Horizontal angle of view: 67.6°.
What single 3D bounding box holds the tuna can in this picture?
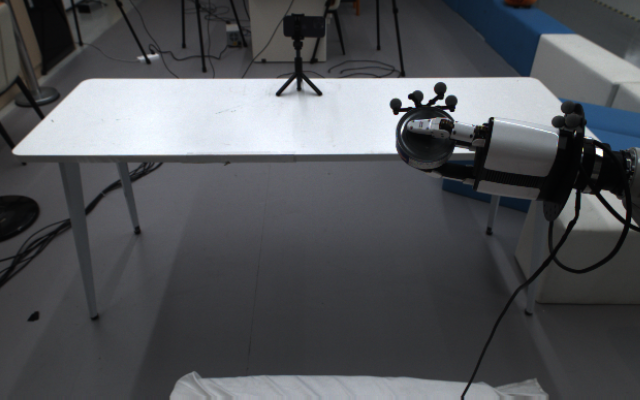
[{"bbox_3d":[0.151,-0.089,0.689,0.085,0.034,0.085,-2,69,6],"label":"tuna can"}]
